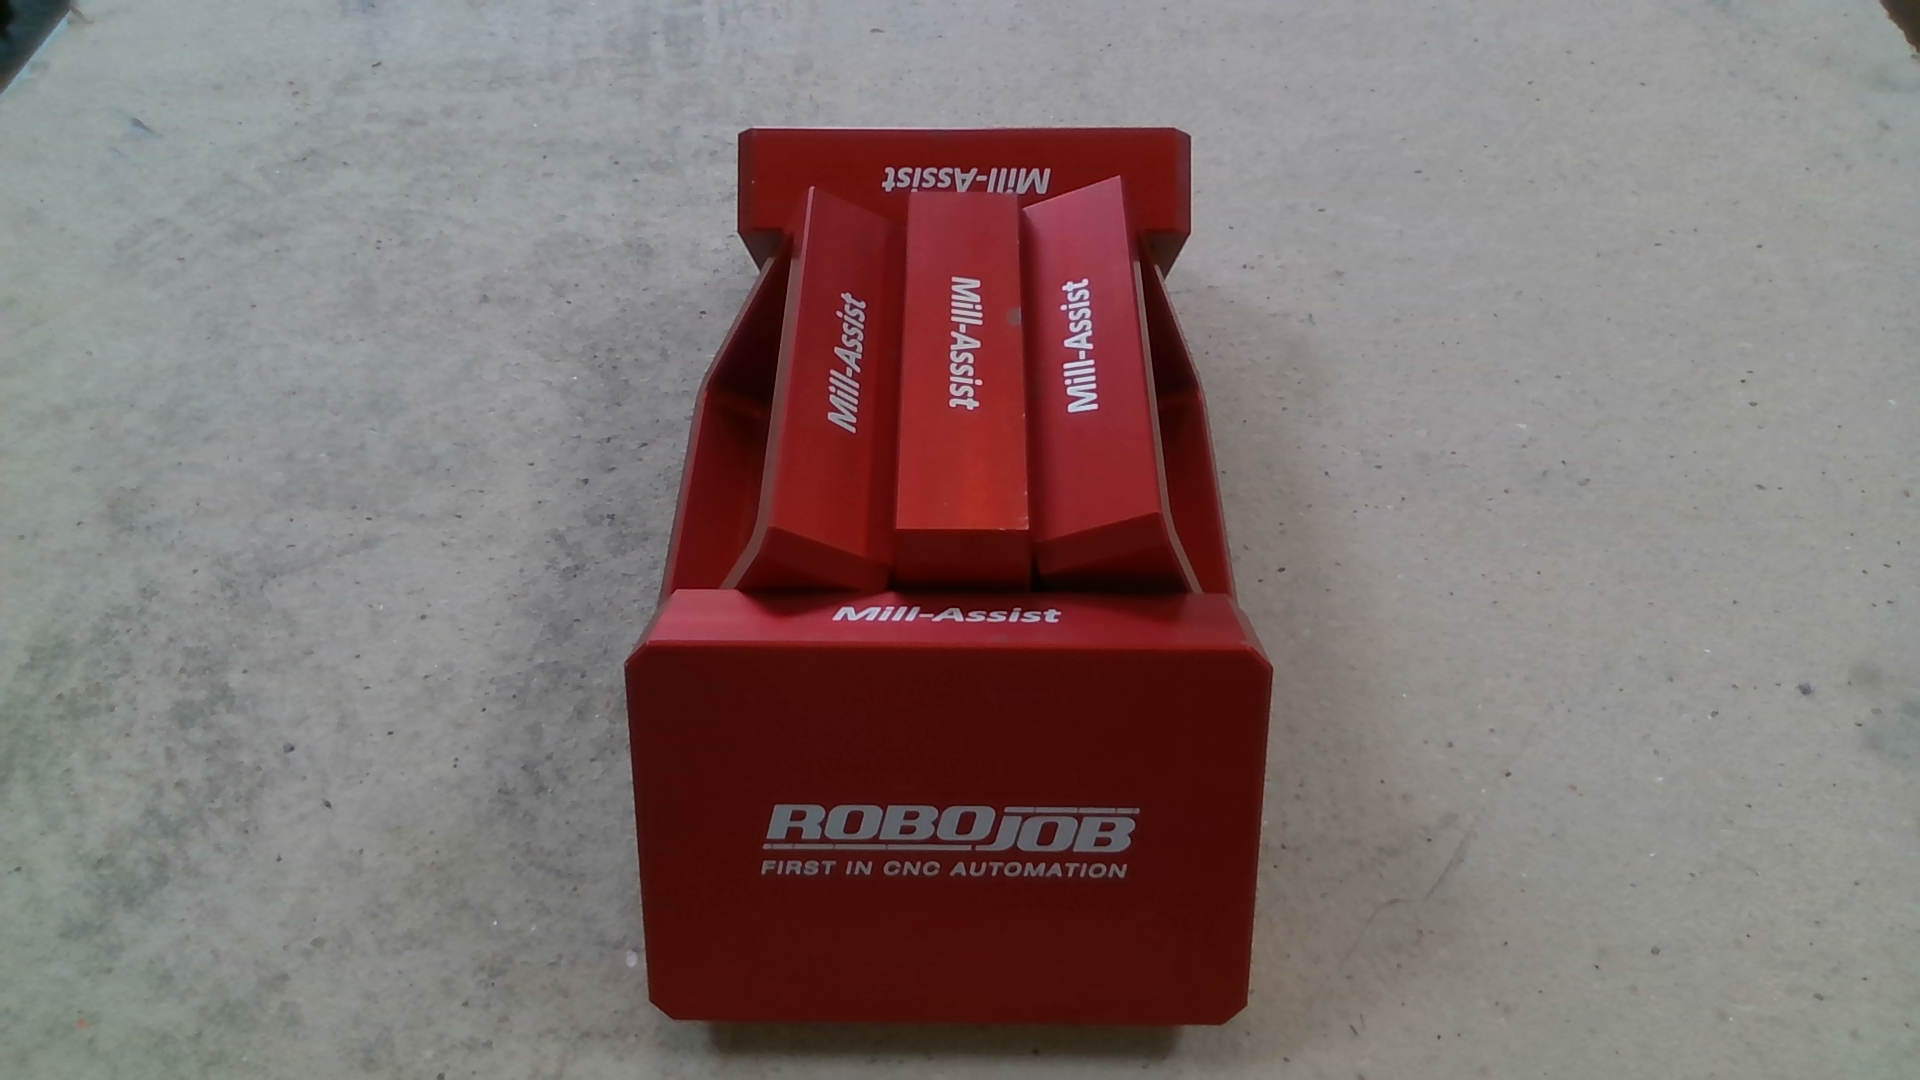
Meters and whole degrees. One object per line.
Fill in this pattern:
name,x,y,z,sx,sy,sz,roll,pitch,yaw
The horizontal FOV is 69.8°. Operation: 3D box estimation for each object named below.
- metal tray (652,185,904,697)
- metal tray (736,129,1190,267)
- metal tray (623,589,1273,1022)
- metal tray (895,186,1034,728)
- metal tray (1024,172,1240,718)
metal tray,-0.049,-0.020,0.367,0.030,0.090,0.130,20,46,-22
metal tray,0.001,-0.099,0.435,0.130,0.090,0.030,0,86,0
metal tray,-0.003,0.058,0.301,0.130,0.090,0.030,0,19,0
metal tray,0.001,-0.020,0.368,0.030,0.090,0.130,0,50,0
metal tray,0.047,-0.023,0.367,0.030,0.090,0.130,-14,48,17
